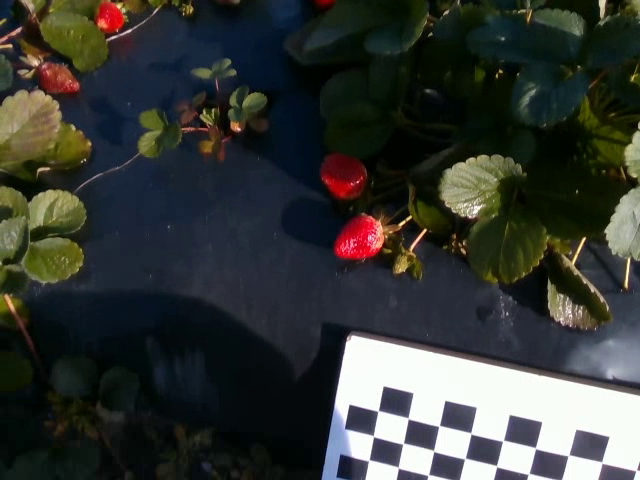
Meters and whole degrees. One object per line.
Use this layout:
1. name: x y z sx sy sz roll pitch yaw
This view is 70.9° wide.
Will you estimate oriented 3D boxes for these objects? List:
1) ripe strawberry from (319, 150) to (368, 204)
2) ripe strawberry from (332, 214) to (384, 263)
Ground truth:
1. ripe strawberry: 0.020 -0.060 0.431 0.054 0.048 0.039 28 2 -21
2. ripe strawberry: 0.033 0.000 0.396 0.053 0.043 0.038 -33 -1 -37
